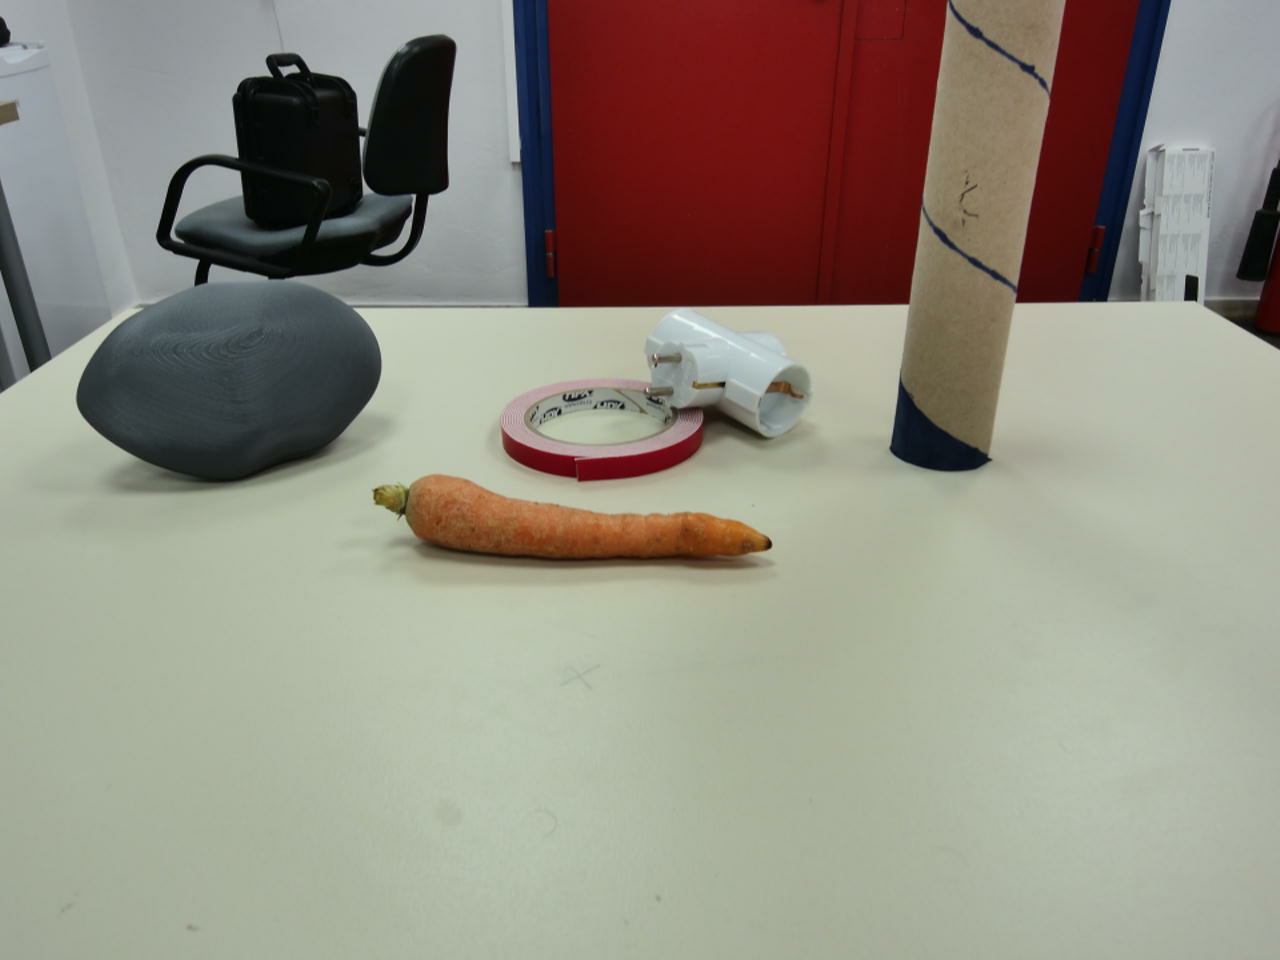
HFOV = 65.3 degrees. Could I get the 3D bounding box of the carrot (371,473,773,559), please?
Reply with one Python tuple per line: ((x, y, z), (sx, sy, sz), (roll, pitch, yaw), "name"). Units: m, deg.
((-0.030, 0.018, 0.426), (0.173, 0.032, 0.030), (4, 25, 8), "carrot")
